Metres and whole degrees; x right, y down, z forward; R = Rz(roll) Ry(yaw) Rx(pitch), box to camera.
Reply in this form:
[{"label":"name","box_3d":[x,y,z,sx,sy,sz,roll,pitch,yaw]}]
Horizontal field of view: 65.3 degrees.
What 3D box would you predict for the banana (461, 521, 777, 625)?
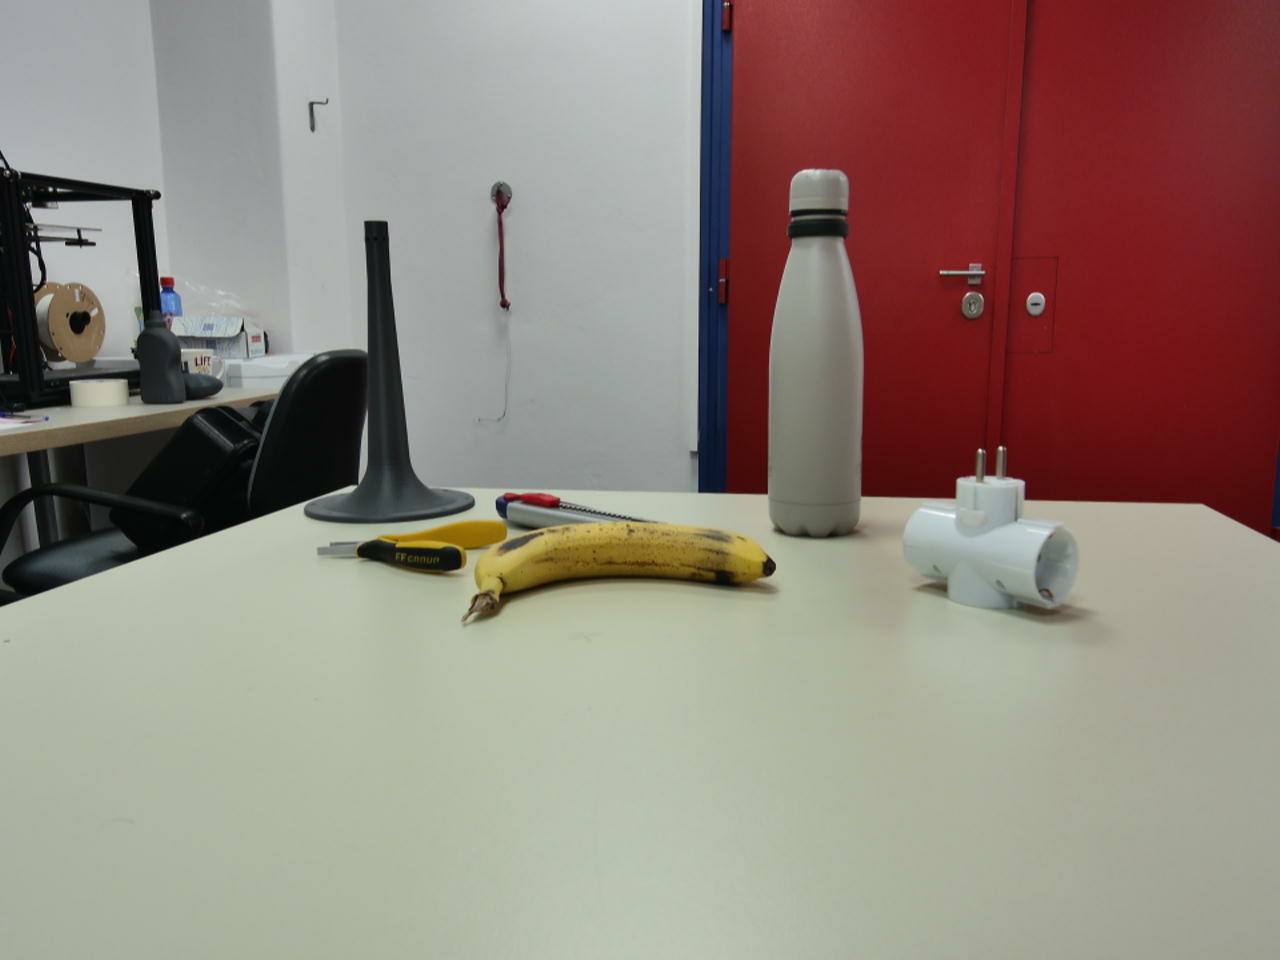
[{"label":"banana","box_3d":[-0.018,0.050,0.618,0.186,0.038,0.097,-3,8,-16]}]
